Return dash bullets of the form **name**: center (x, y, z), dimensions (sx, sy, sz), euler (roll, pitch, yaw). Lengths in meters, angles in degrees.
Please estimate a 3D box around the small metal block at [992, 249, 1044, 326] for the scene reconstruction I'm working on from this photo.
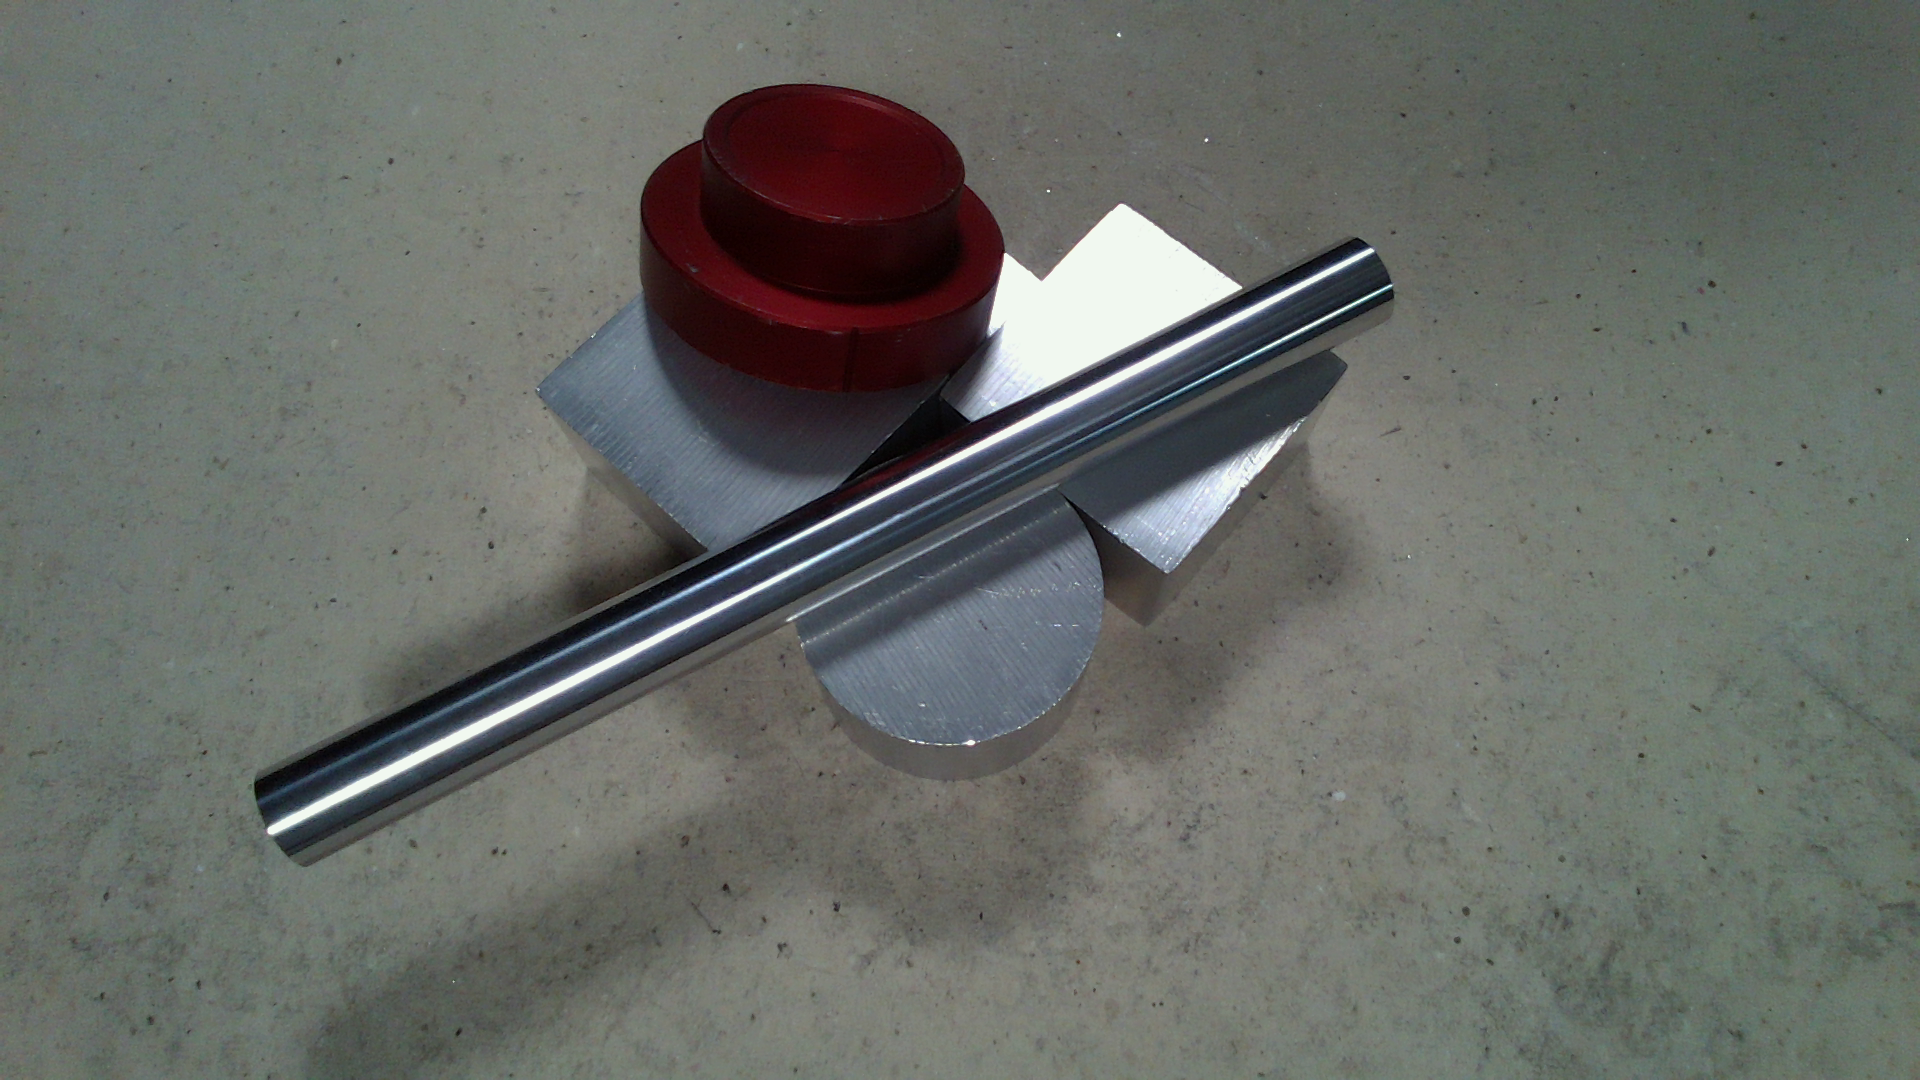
- **small metal block**: center (-0.004, -0.068, 0.419), dimensions (0.050, 0.025, 0.050), euler (41, 75, 13)

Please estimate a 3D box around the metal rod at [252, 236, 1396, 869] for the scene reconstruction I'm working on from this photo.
- **metal rod**: center (-0.024, -0.002, 0.342), dimensions (0.300, 0.025, 0.025), euler (-27, 72, -9)

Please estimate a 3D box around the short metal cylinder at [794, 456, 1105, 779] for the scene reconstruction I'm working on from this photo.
- **short metal cylinder**: center (-0.003, 0.021, 0.373), dimensions (0.080, 0.050, 0.080), euler (0, 70, 0)

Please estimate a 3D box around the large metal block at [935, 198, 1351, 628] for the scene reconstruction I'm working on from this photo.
- **large metal block**: center (0.050, -0.035, 0.395), dimensions (0.080, 0.050, 0.080), euler (39, 75, 13)

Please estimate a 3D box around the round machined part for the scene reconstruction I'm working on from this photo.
- **round machined part**: center (-0.036, -0.087, 0.370), dimensions (0.098, 0.042, 0.098), euler (8, 43, -7)

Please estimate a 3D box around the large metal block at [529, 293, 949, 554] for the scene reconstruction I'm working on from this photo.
- **large metal block**: center (-0.059, -0.034, 0.393), dimensions (0.080, 0.050, 0.080), euler (40, 75, 13)
